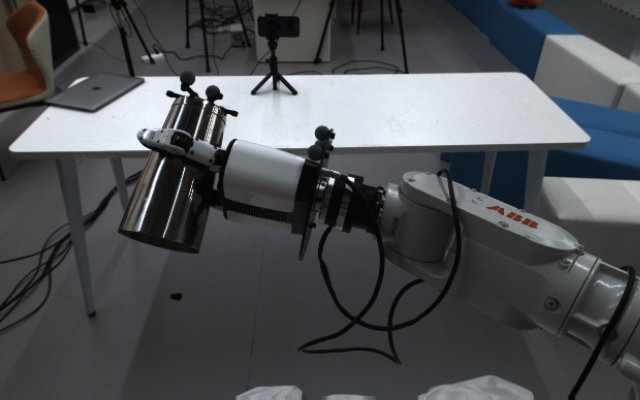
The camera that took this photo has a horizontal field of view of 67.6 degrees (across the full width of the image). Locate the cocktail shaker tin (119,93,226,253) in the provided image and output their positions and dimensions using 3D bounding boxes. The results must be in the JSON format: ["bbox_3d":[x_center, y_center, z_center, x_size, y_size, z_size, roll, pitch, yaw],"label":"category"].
[{"bbox_3d":[-0.165,-0.030,0.568,0.093,0.093,0.170,10,73,11],"label":"cocktail shaker tin"}]
